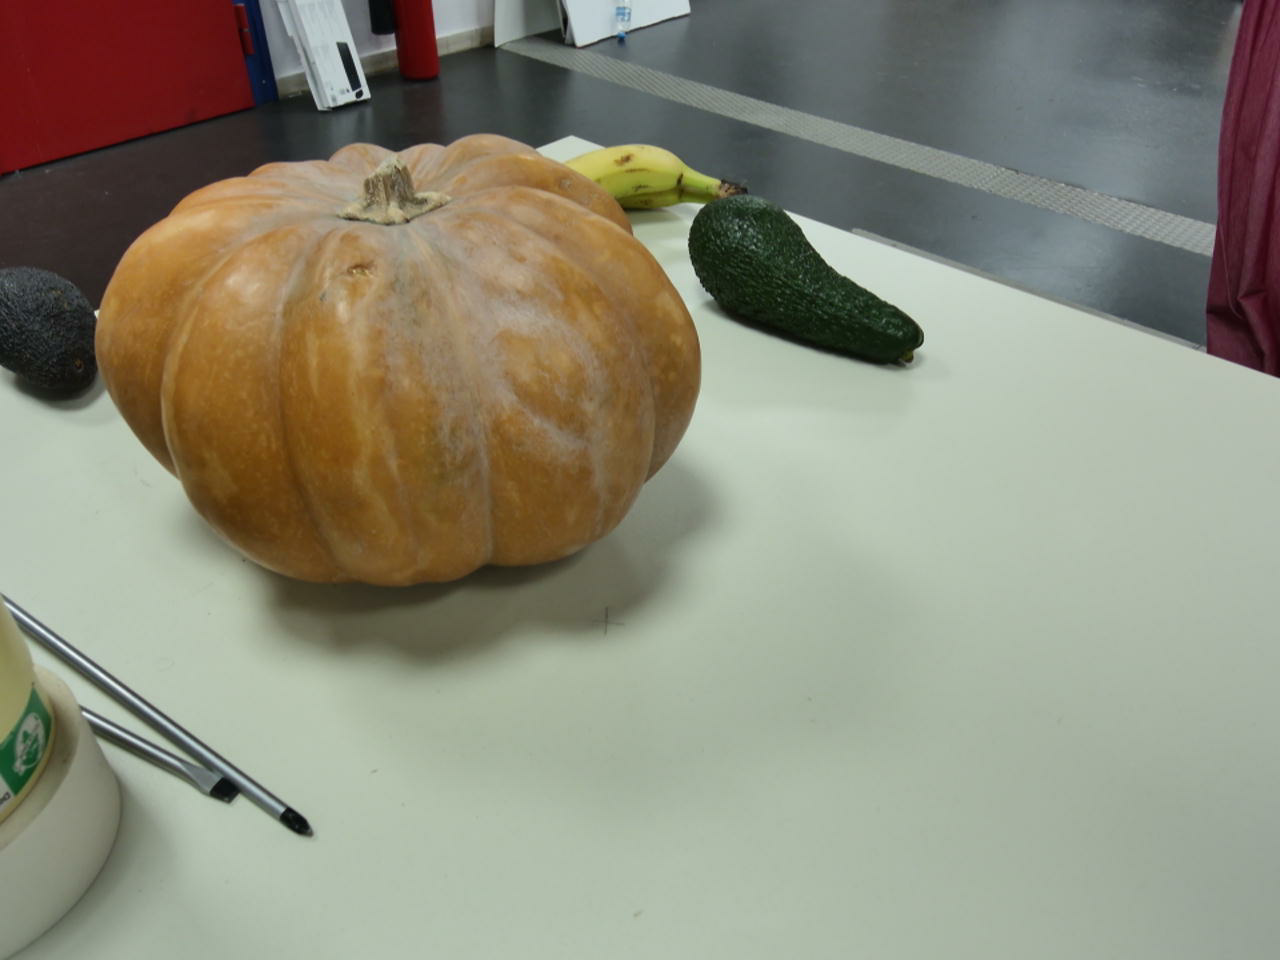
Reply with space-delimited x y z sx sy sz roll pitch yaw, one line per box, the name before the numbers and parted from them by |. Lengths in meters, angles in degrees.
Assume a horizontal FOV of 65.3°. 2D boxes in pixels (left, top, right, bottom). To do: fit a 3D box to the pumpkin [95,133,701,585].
pumpkin | -0.107 -0.062 0.484 0.277 0.181 0.277 0 37 0
